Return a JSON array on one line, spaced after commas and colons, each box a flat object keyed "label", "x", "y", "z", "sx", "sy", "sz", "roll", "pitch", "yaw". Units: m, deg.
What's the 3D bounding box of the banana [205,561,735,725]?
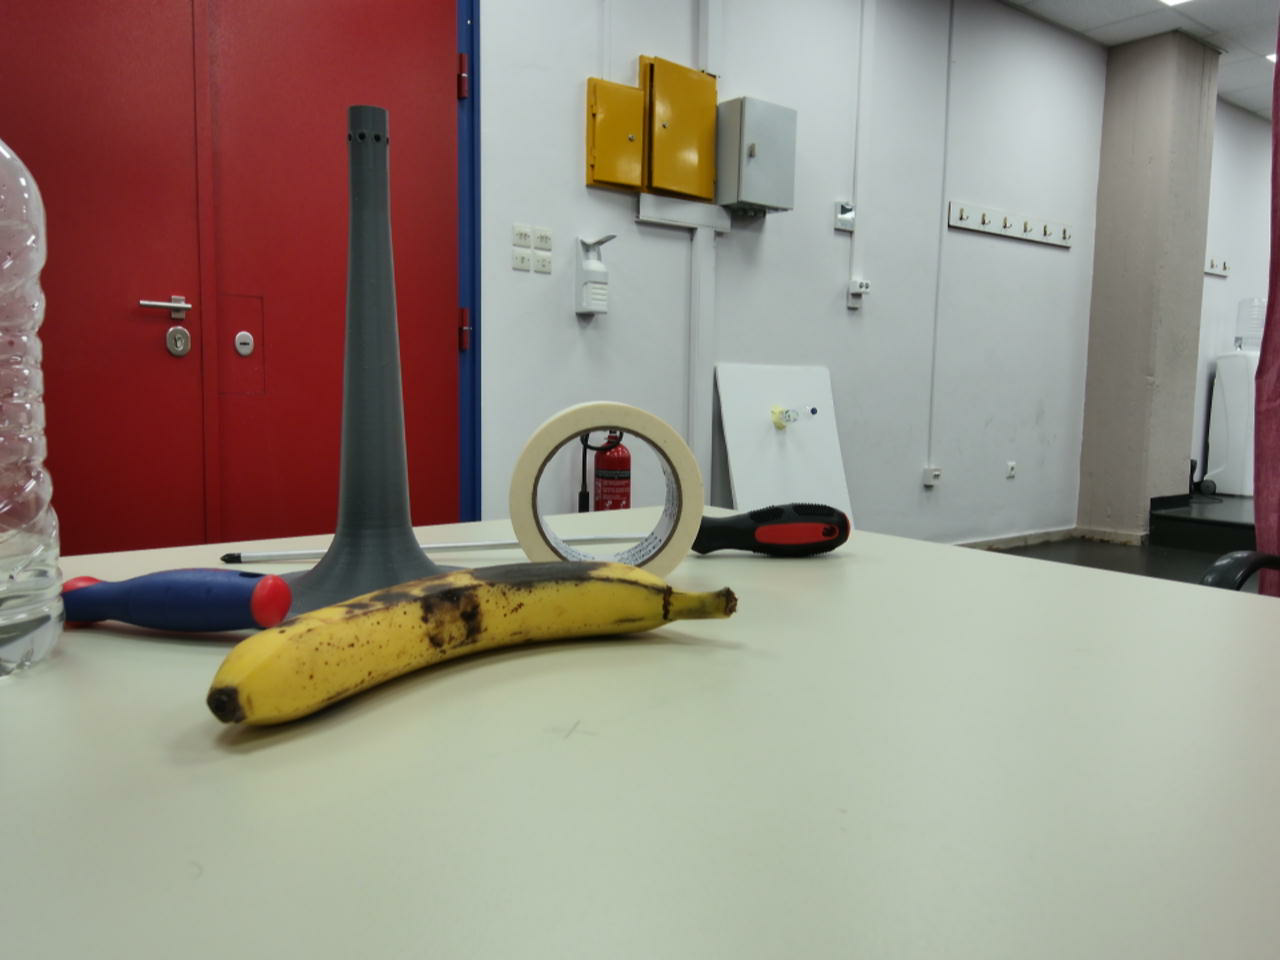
[{"label": "banana", "x": -0.067, "y": 0.058, "z": 0.405, "sx": 0.222, "sy": 0.037, "sz": 0.084, "roll": -3, "pitch": 5, "yaw": -39}]
